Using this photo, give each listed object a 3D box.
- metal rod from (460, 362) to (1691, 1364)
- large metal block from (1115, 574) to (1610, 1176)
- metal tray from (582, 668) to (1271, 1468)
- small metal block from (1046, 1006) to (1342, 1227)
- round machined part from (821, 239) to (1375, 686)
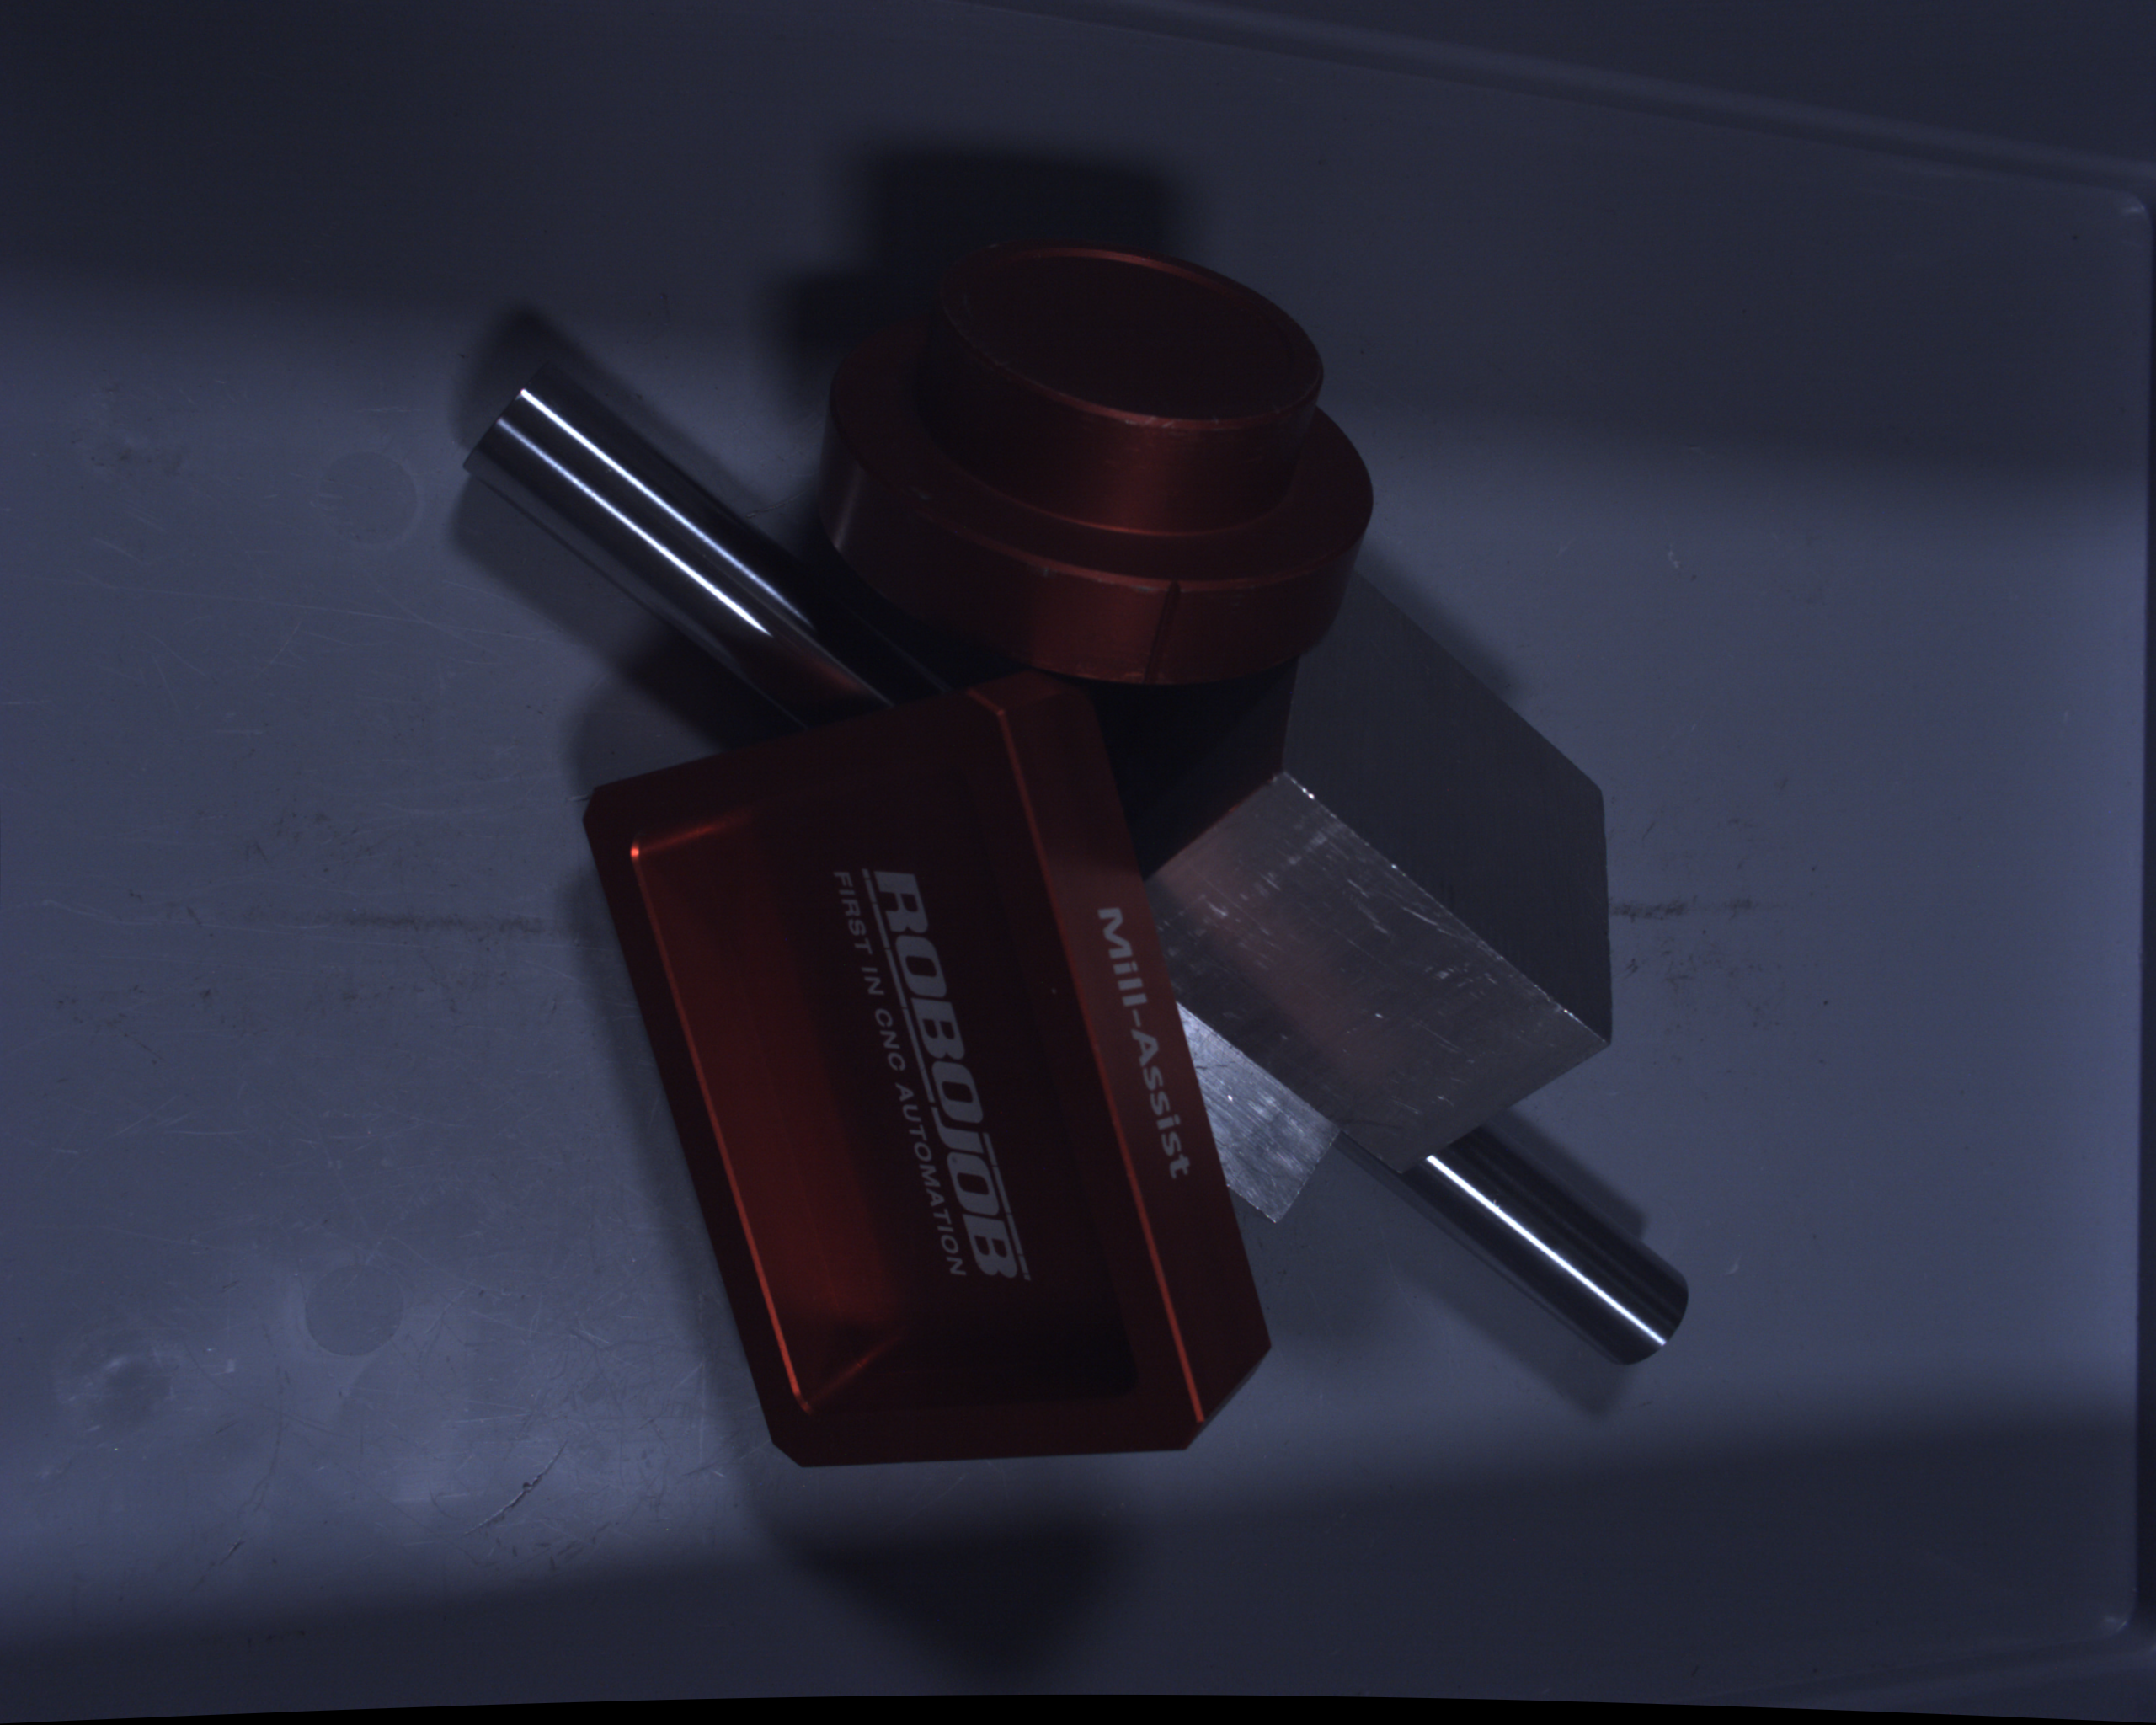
[{"bbox_3d":[0.011,0.010,0.414,0.301,0.025,0.025,38,78,-16],"label":"metal rod"},{"bbox_3d":[0.053,-0.002,0.396,0.080,0.050,0.080,39,35,-16],"label":"large metal block"},{"bbox_3d":[-0.027,0.038,0.367,0.030,0.090,0.129,-26,102,-60],"label":"metal tray"},{"bbox_3d":[0.017,0.042,0.403,0.050,0.050,0.025,40,77,-16],"label":"small metal block"},{"bbox_3d":[0.006,-0.077,0.371,0.099,0.098,0.042,-2,131,-20],"label":"round machined part"}]
